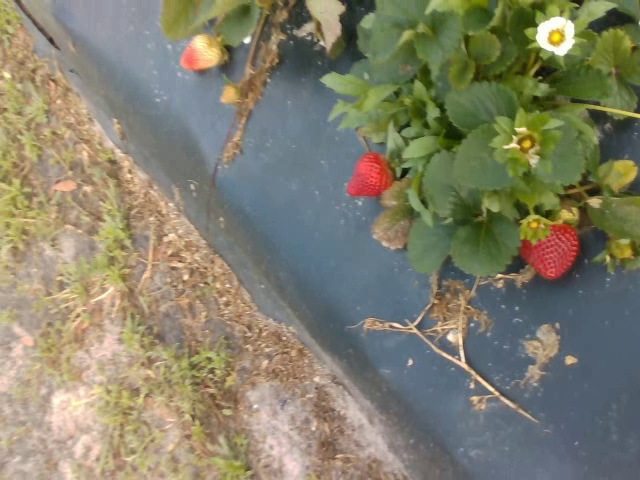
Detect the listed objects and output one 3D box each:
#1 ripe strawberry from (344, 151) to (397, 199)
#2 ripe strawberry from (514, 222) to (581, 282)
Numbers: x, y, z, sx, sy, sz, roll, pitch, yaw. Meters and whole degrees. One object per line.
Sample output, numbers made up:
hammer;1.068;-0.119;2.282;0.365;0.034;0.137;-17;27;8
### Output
ripe strawberry;0.044;-0.055;0.535;0.050;0.043;0.042;-42;-24;18
ripe strawberry;0.162;0.008;0.443;0.046;0.046;0.043;19;-34;-28
